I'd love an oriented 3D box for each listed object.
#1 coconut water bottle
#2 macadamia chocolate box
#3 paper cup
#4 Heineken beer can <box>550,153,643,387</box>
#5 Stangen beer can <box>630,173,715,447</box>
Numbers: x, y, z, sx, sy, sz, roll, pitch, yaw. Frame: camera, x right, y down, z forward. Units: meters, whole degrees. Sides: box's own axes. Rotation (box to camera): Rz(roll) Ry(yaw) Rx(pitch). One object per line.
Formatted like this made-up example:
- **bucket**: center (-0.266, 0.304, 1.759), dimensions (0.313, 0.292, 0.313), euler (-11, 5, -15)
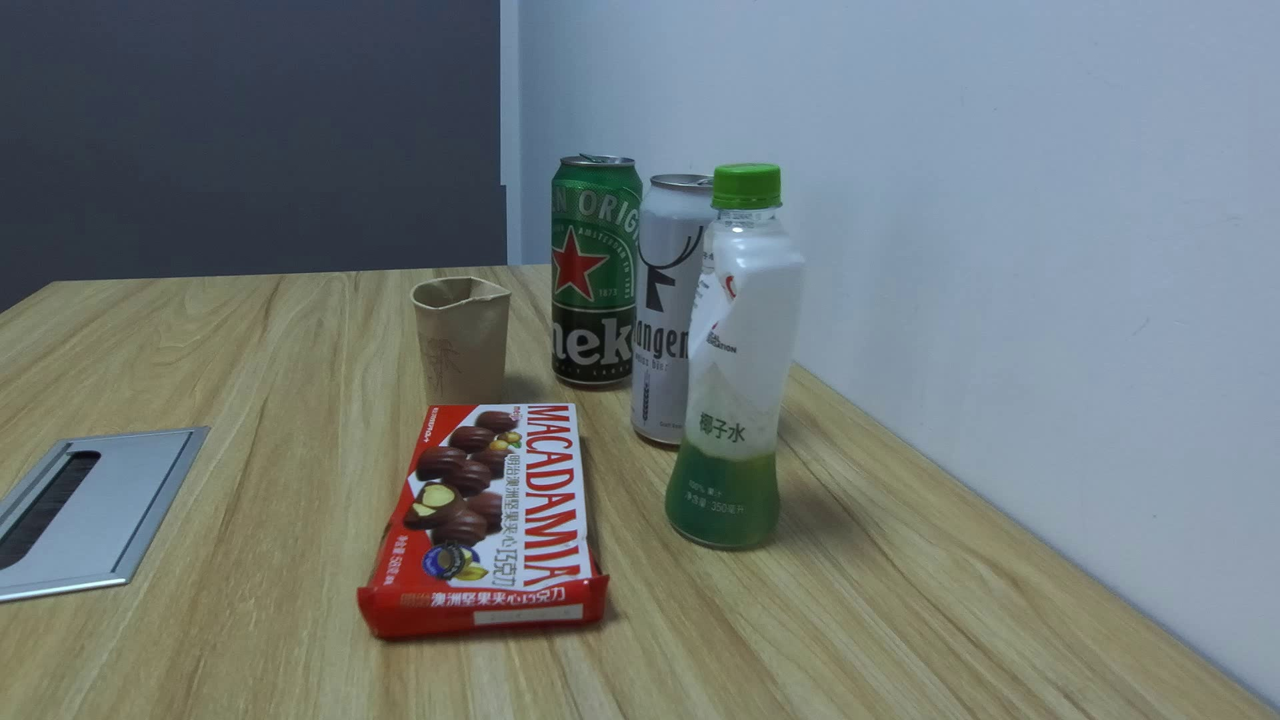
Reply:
- **coconut water bottle**: center (0.049, -0.002, 0.352), dimensions (0.069, 0.187, 0.069), euler (3, 22, -1)
- **macadamia chocolate box**: center (-0.077, 0.074, 0.380), dimensions (0.106, 0.028, 0.182), euler (-1, 23, -9)
- **paper cup**: center (-0.129, -0.011, 0.505), dimensions (0.072, 0.084, 0.066), euler (-12, 25, -37)
- **Heineken beer can**: center (-0.033, -0.064, 0.537), dimensions (0.067, 0.169, 0.067), euler (1, 19, 0)
- **Stangen beer can**: center (0.030, -0.030, 0.467), dimensions (0.067, 0.171, 0.067), euler (3, 20, -1)
